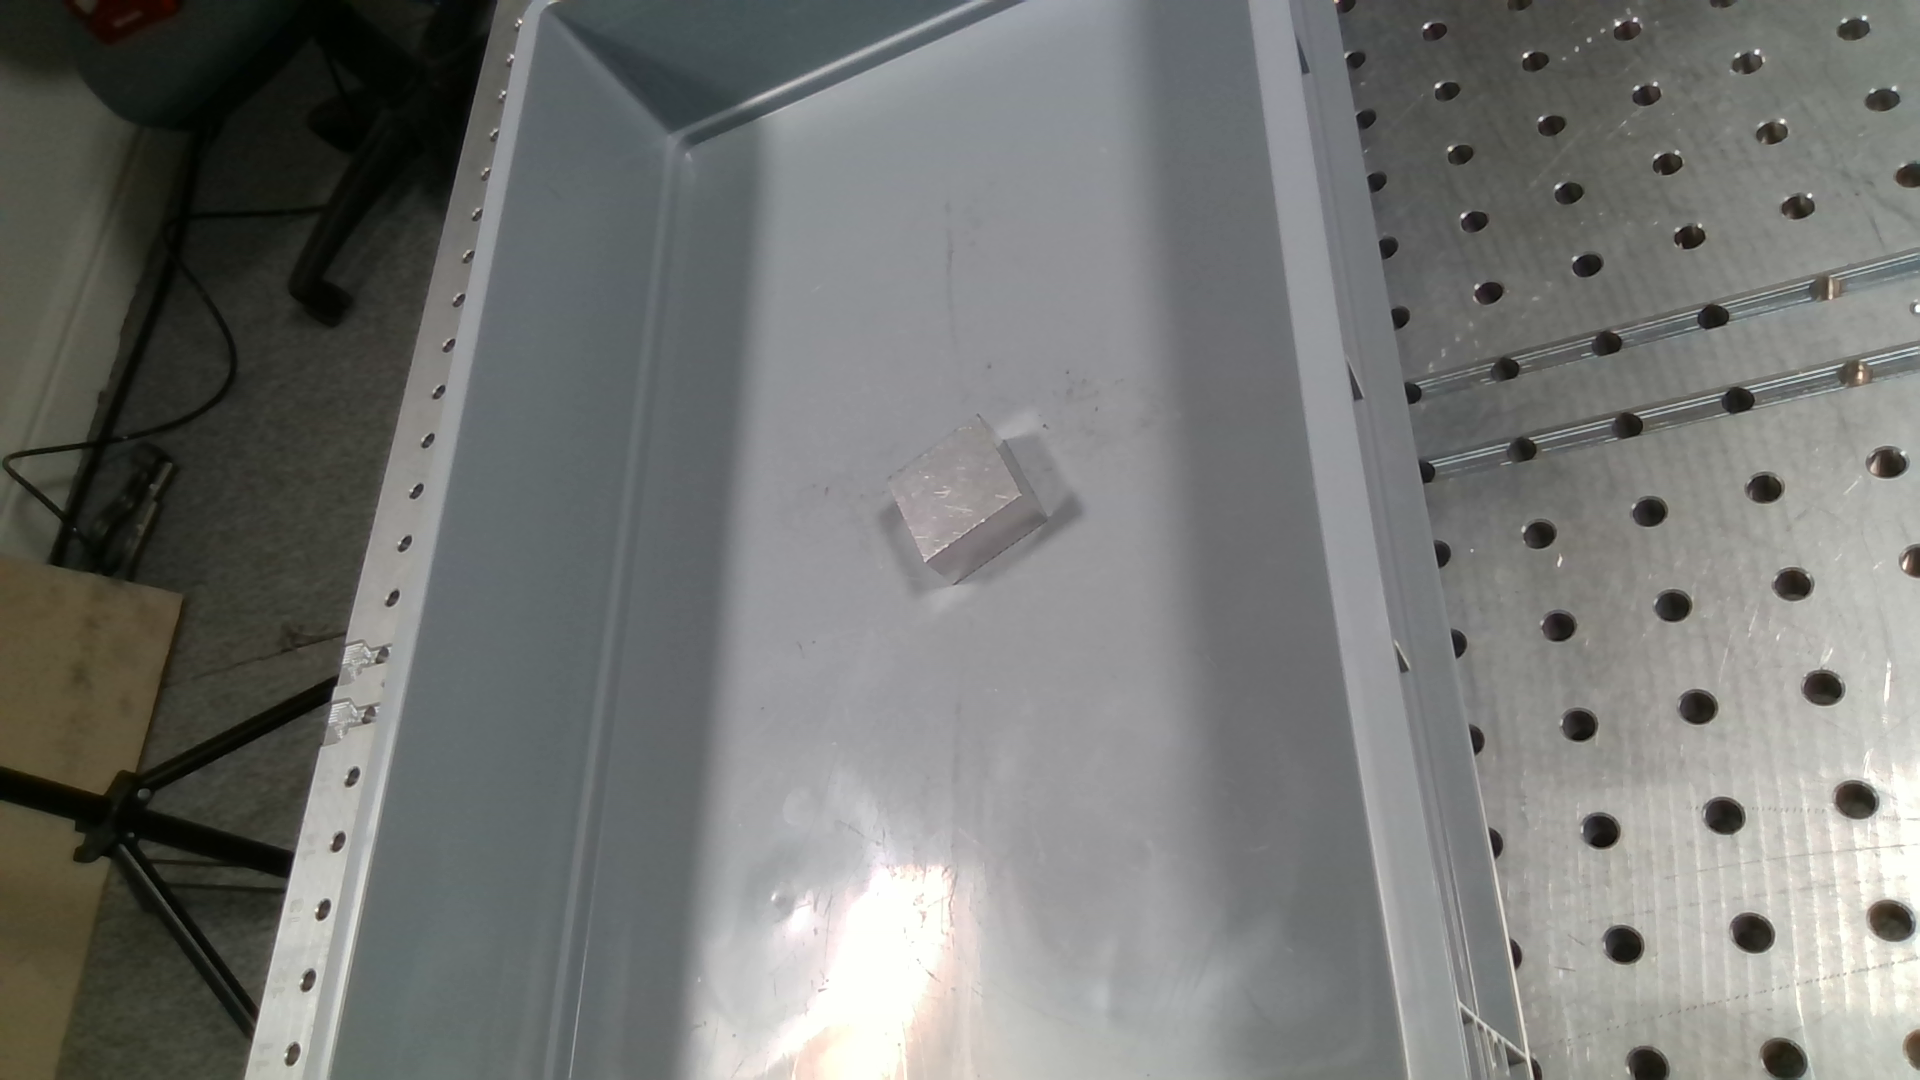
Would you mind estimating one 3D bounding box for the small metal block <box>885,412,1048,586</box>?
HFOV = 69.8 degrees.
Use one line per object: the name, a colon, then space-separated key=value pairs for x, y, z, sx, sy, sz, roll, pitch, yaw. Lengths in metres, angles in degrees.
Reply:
small metal block: x=0.002 y=-0.018 z=0.590 sx=0.050 sy=0.025 sz=0.050 roll=-35 pitch=52 yaw=12
